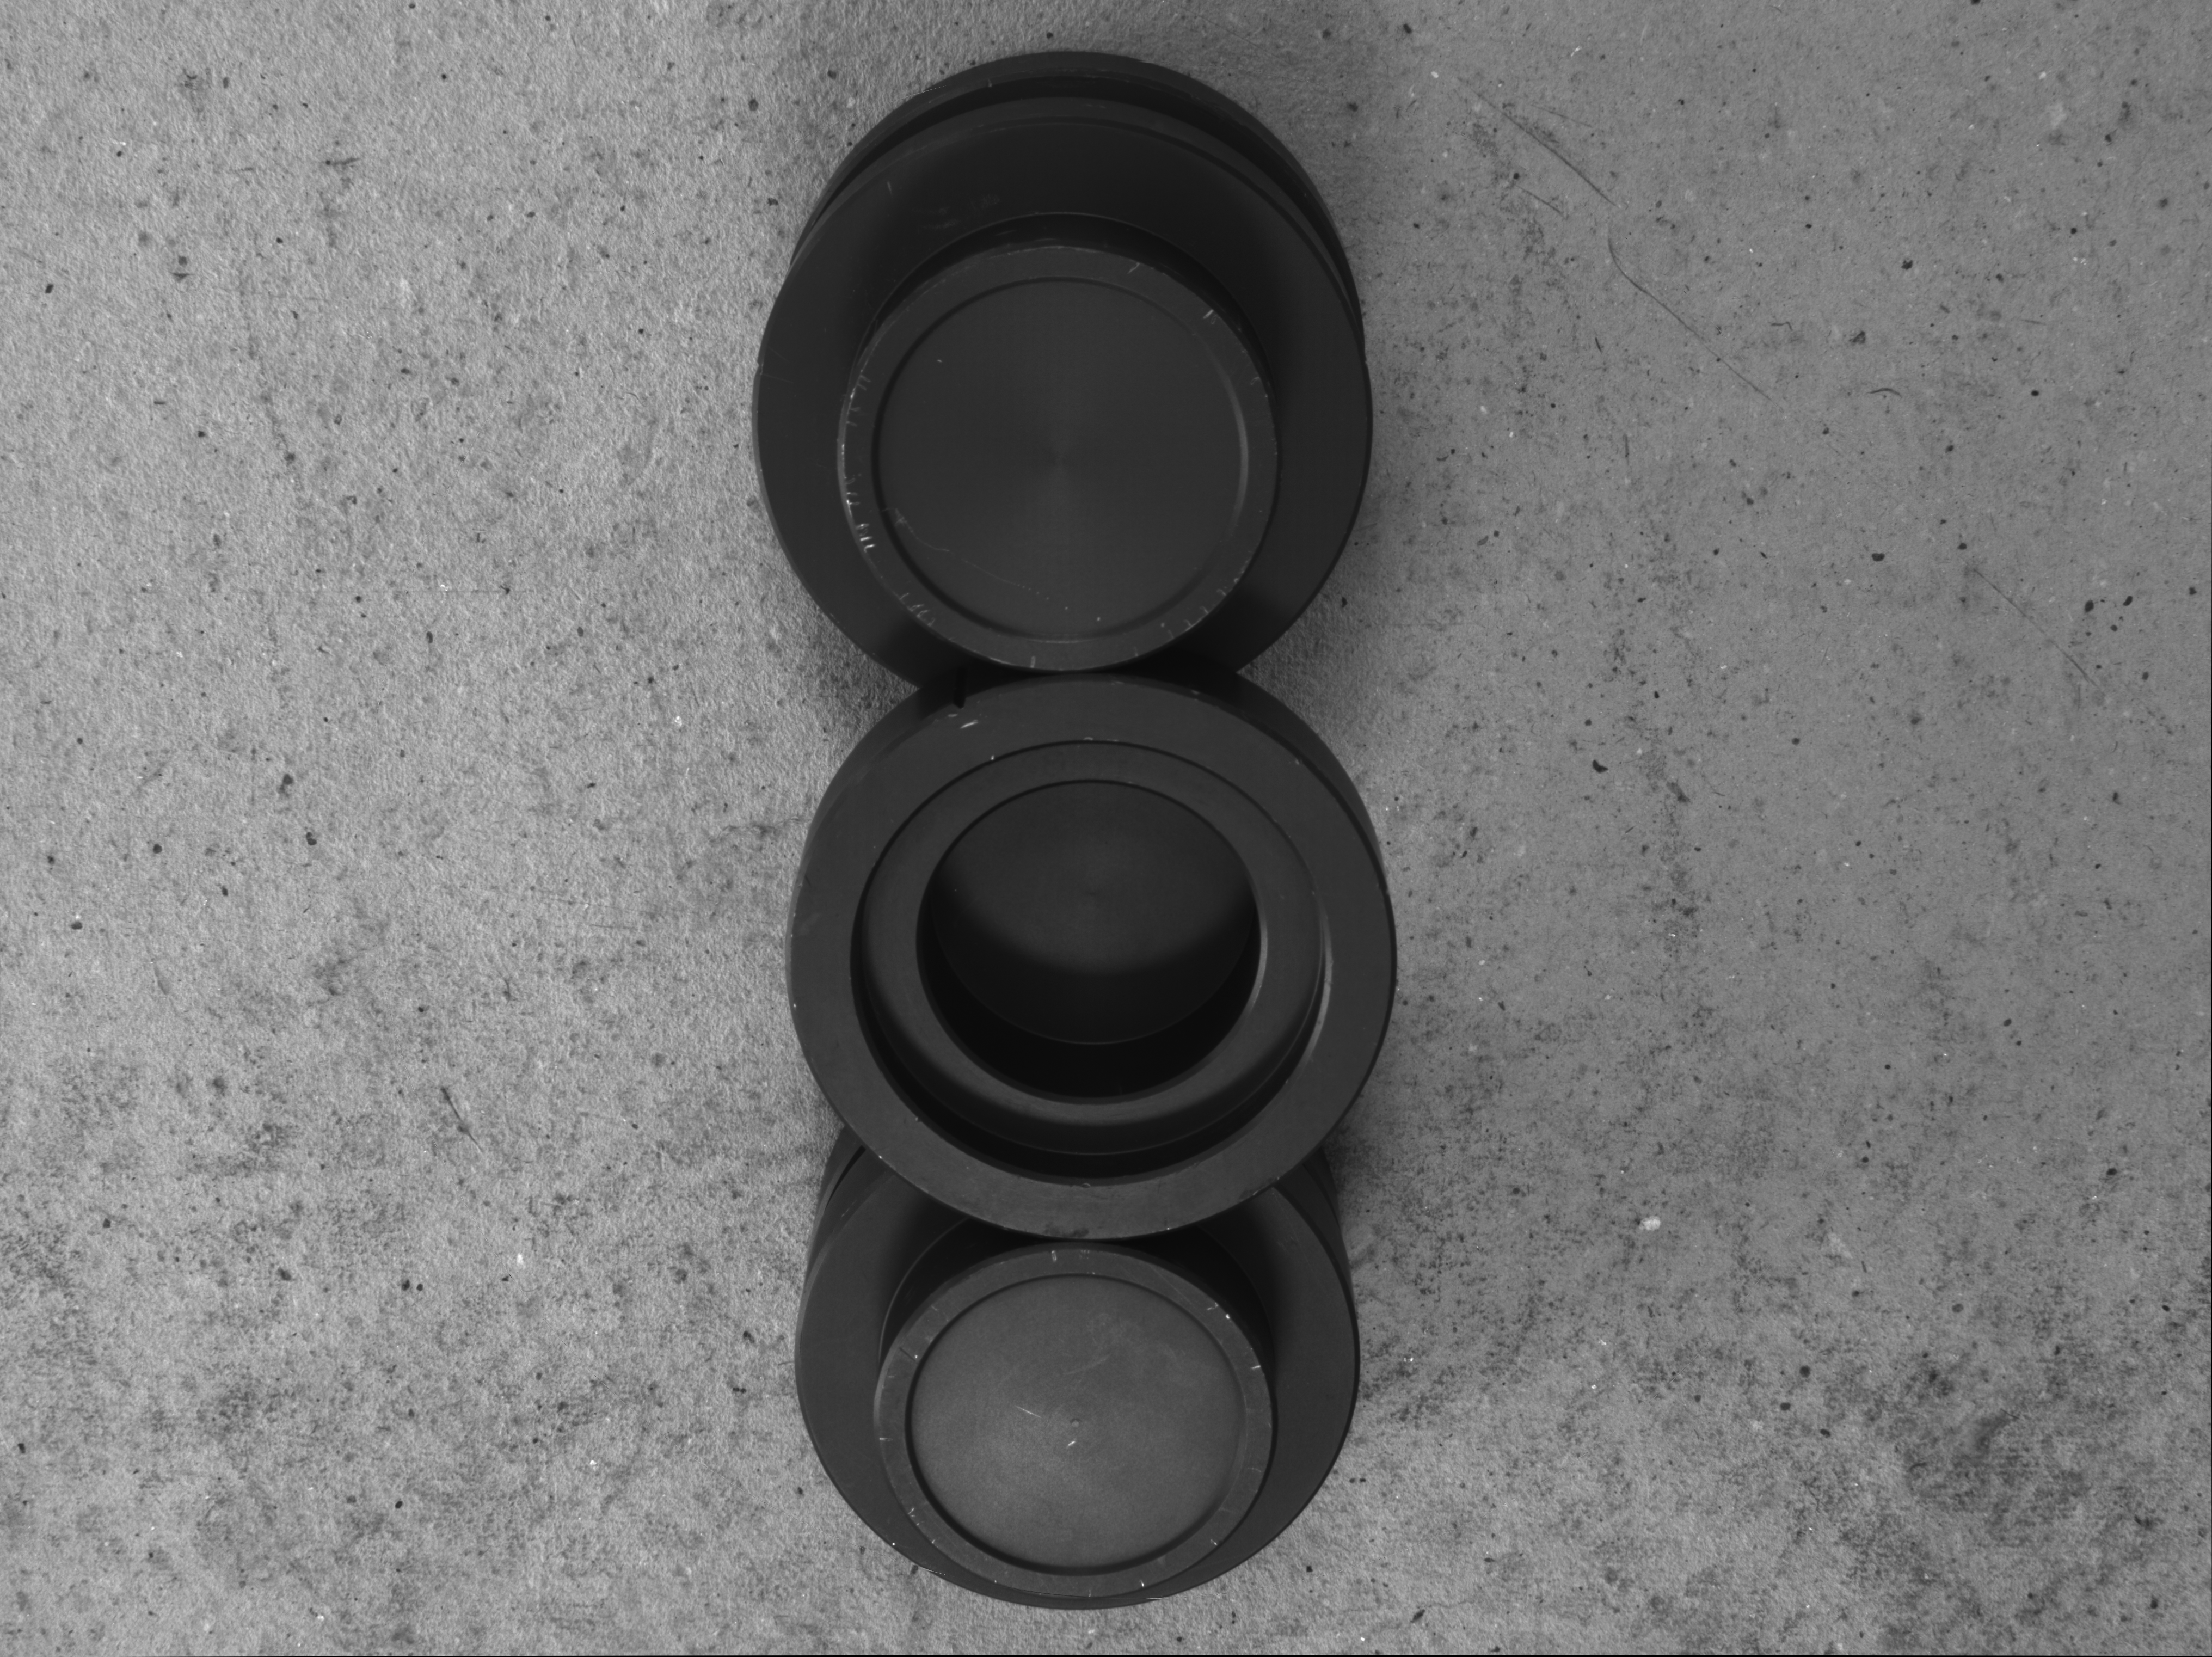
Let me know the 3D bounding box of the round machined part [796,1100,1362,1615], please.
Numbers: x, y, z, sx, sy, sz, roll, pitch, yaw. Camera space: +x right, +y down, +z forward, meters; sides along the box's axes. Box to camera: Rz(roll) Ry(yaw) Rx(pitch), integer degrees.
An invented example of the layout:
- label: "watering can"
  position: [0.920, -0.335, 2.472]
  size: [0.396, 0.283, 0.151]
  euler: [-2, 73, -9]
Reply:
- label: "round machined part"
  position: [-0.005, 0.094, 0.633]
  size: [0.098, 0.042, 0.098]
  euler: [0, 110, 1]

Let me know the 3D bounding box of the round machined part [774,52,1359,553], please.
- label: "round machined part"
  position: [-0.006, -0.076, 0.607]
  size: [0.098, 0.042, 0.098]
  euler: [1, 110, 2]

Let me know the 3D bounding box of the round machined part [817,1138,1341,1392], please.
- label: "round machined part"
  position: [-0.005, 0.084, 0.666]
  size: [0.098, 0.042, 0.098]
  euler: [0, 109, 1]

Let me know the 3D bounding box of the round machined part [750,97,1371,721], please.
- label: "round machined part"
  position: [-0.007, -0.063, 0.577]
  size: [0.098, 0.042, 0.098]
  euler: [0, 110, 1]

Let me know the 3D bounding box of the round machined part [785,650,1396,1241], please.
- label: "round machined part"
  position: [-0.002, 0.015, 0.606]
  size: [0.098, 0.042, 0.098]
  euler: [0, 110, 0]
